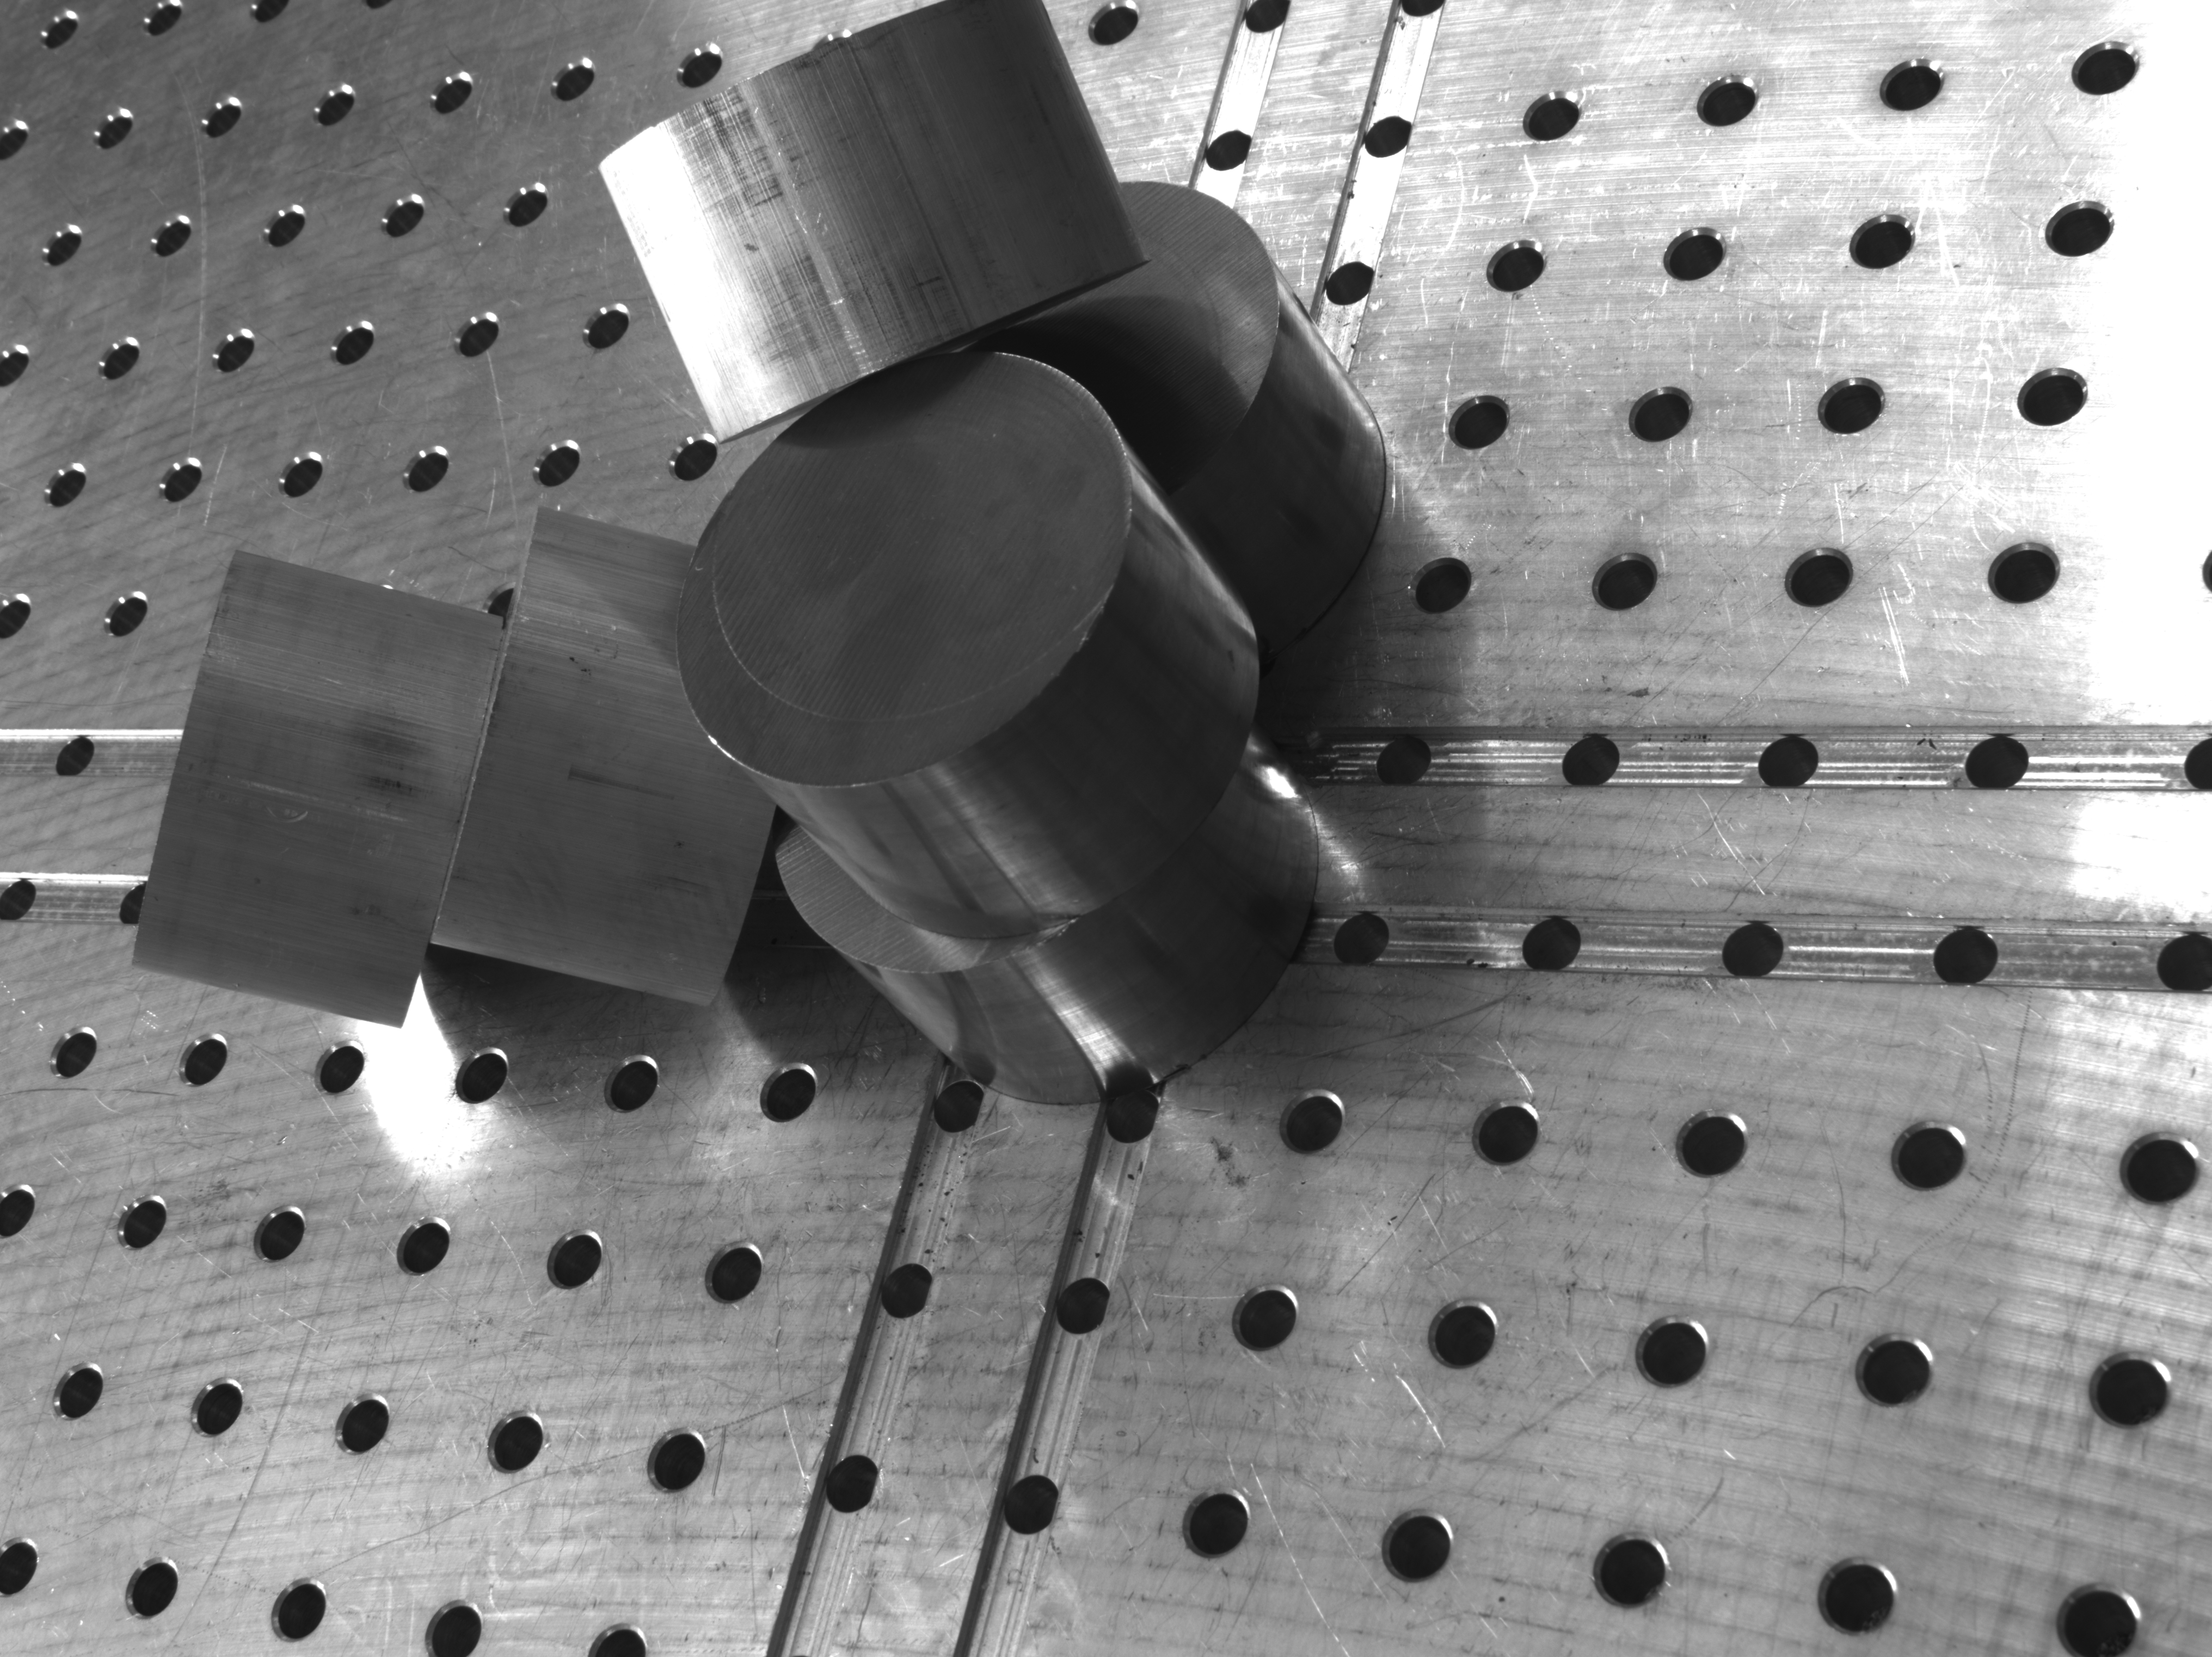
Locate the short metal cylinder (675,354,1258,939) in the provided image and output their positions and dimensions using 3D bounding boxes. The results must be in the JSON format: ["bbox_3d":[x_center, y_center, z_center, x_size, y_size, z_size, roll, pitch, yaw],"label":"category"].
[{"bbox_3d":[-0.022,-0.029,0.595,0.080,0.050,0.080,-14,56,21],"label":"short metal cylinder"}]

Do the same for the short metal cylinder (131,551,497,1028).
[{"bbox_3d":[-0.147,-0.007,0.689,0.050,0.080,0.080,14,61,-12],"label":"short metal cylinder"}]

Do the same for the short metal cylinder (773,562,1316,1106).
[{"bbox_3d":[-0.010,0.001,0.637,0.080,0.050,0.080,-14,56,21],"label":"short metal cylinder"}]

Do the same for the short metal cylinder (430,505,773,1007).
[{"bbox_3d":[-0.087,-0.013,0.658,0.050,0.080,0.080,14,61,-11],"label":"short metal cylinder"}]

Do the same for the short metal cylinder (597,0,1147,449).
[{"bbox_3d":[-0.039,-0.103,0.624,0.080,0.080,0.050,-22,96,15],"label":"short metal cylinder"}]

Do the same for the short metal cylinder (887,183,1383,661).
[{"bbox_3d":[0.004,-0.070,0.673,0.080,0.050,0.080,-14,56,21],"label":"short metal cylinder"}]
